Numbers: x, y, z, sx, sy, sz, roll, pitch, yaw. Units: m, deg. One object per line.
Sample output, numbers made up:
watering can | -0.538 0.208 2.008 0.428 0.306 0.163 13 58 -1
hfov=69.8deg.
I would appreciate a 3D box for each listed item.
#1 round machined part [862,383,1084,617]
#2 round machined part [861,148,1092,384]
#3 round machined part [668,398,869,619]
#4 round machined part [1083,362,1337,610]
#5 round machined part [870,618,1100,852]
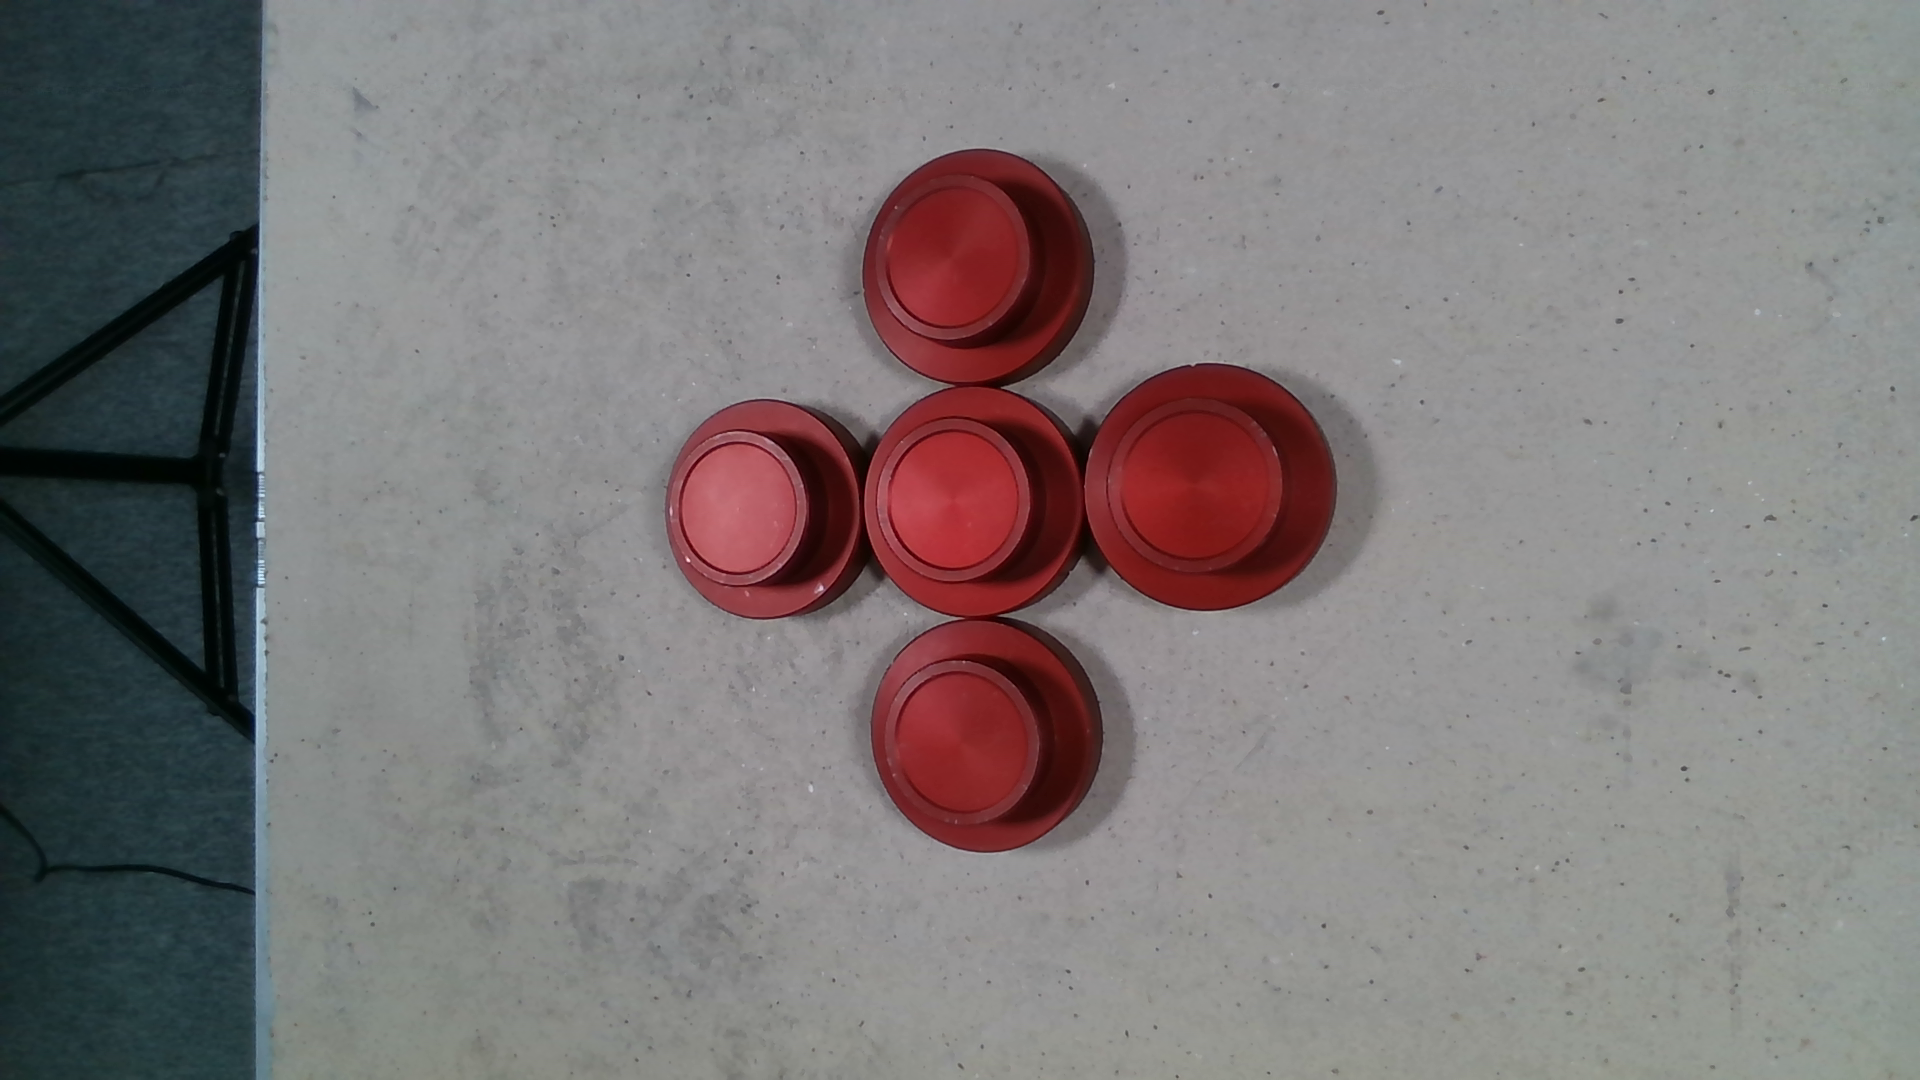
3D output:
round machined part | 0.004 -0.017 0.575 0.098 0.042 0.098 0 91 20
round machined part | 0.003 -0.115 0.575 0.098 0.042 0.098 0 91 20
round machined part | -0.089 -0.014 0.609 0.098 0.042 0.098 0 91 20
round machined part | 0.096 -0.021 0.541 0.098 0.042 0.098 0 91 20
round machined part | 0.007 0.082 0.575 0.098 0.042 0.098 0 91 20
